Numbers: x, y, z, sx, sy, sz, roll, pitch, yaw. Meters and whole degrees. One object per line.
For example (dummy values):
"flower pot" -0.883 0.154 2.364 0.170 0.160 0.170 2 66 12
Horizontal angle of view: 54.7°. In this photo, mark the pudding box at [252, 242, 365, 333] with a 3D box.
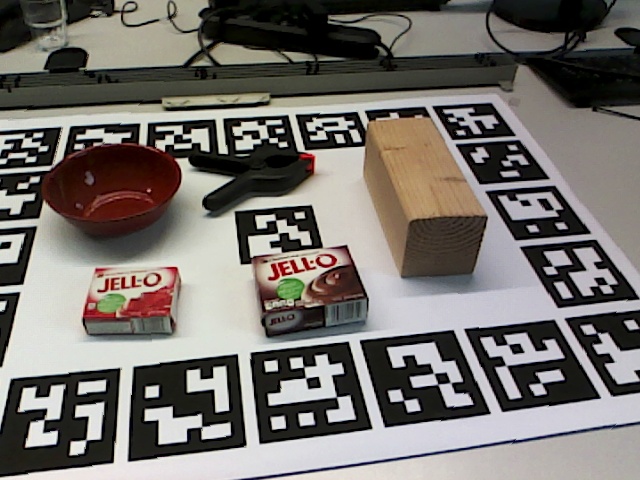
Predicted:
"pudding box" -0.015 0.051 0.676 0.113 0.038 0.090 -7 47 -7

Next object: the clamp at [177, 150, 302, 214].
"clamp" -0.102 -0.089 0.840 0.164 0.036 0.122 -11 43 -18

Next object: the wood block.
"wood block" 0.123 -0.059 0.766 0.090 0.091 0.207 -2 42 -7

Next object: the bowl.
"bowl" -0.253 -0.056 0.779 0.161 0.055 0.162 2 44 -3

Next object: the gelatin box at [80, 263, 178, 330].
"gelatin box" -0.201 0.059 0.660 0.089 0.030 0.073 1 43 -2
